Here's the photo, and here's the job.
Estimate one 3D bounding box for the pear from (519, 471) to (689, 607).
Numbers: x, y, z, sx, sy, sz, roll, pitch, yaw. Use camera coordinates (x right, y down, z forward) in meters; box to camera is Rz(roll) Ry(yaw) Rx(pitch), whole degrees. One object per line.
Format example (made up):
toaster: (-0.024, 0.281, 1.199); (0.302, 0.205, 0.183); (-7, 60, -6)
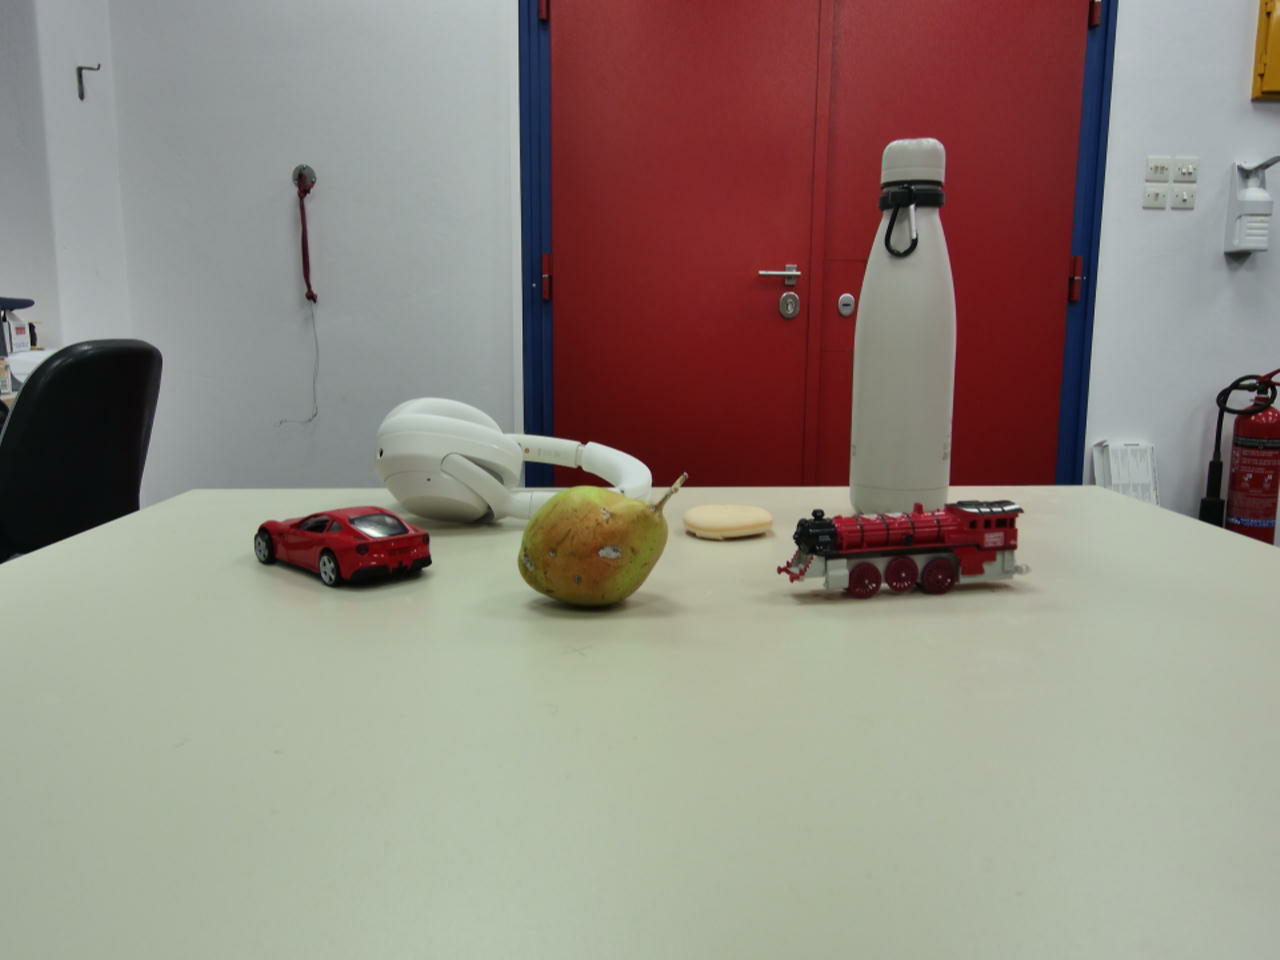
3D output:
pear: (-0.023, 0.031, 0.517); (0.068, 0.069, 0.070); (-5, 8, -39)
